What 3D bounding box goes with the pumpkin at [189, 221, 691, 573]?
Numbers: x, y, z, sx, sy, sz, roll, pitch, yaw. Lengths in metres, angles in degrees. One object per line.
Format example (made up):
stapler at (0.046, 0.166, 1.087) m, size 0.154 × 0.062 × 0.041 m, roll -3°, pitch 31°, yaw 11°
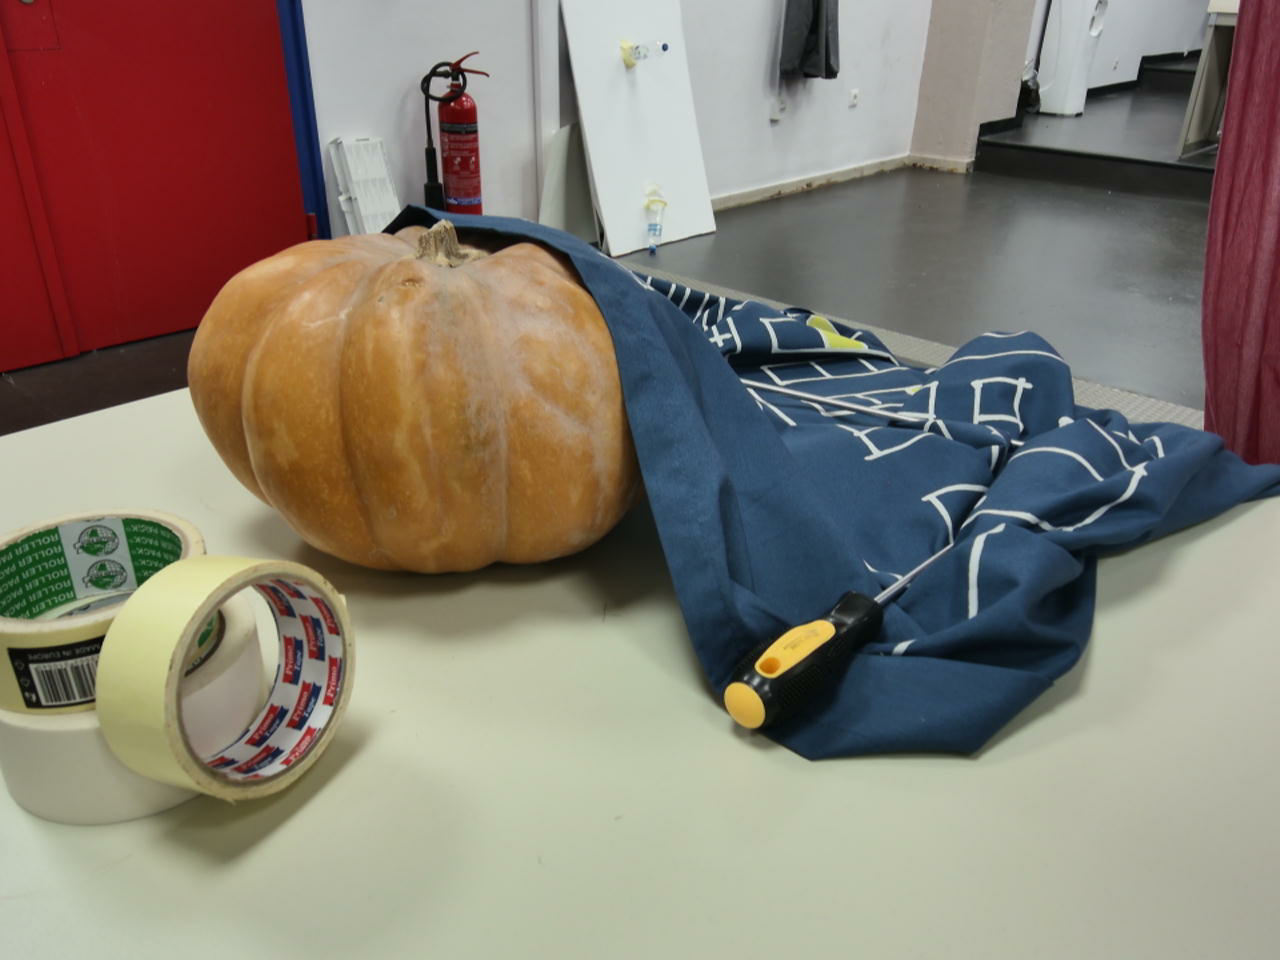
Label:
pumpkin at (-0.107, -0.054, 0.572) m, size 0.277 × 0.181 × 0.277 m, roll 0°, pitch 26°, yaw 0°
